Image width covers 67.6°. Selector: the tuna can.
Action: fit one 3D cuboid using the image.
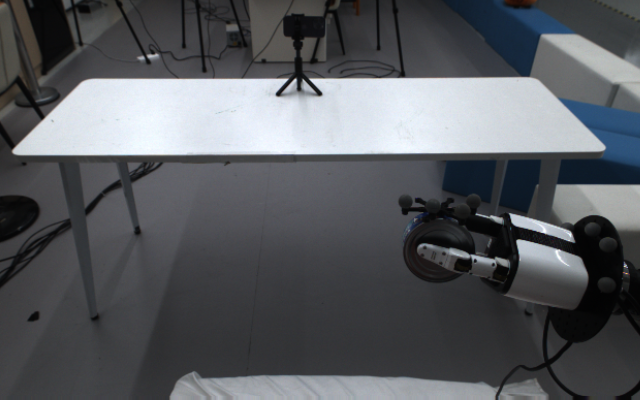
[{"bbox_3d":[0.147,0.057,0.598,0.085,0.085,0.034,5,17,4],"label":"tuna can"}]
